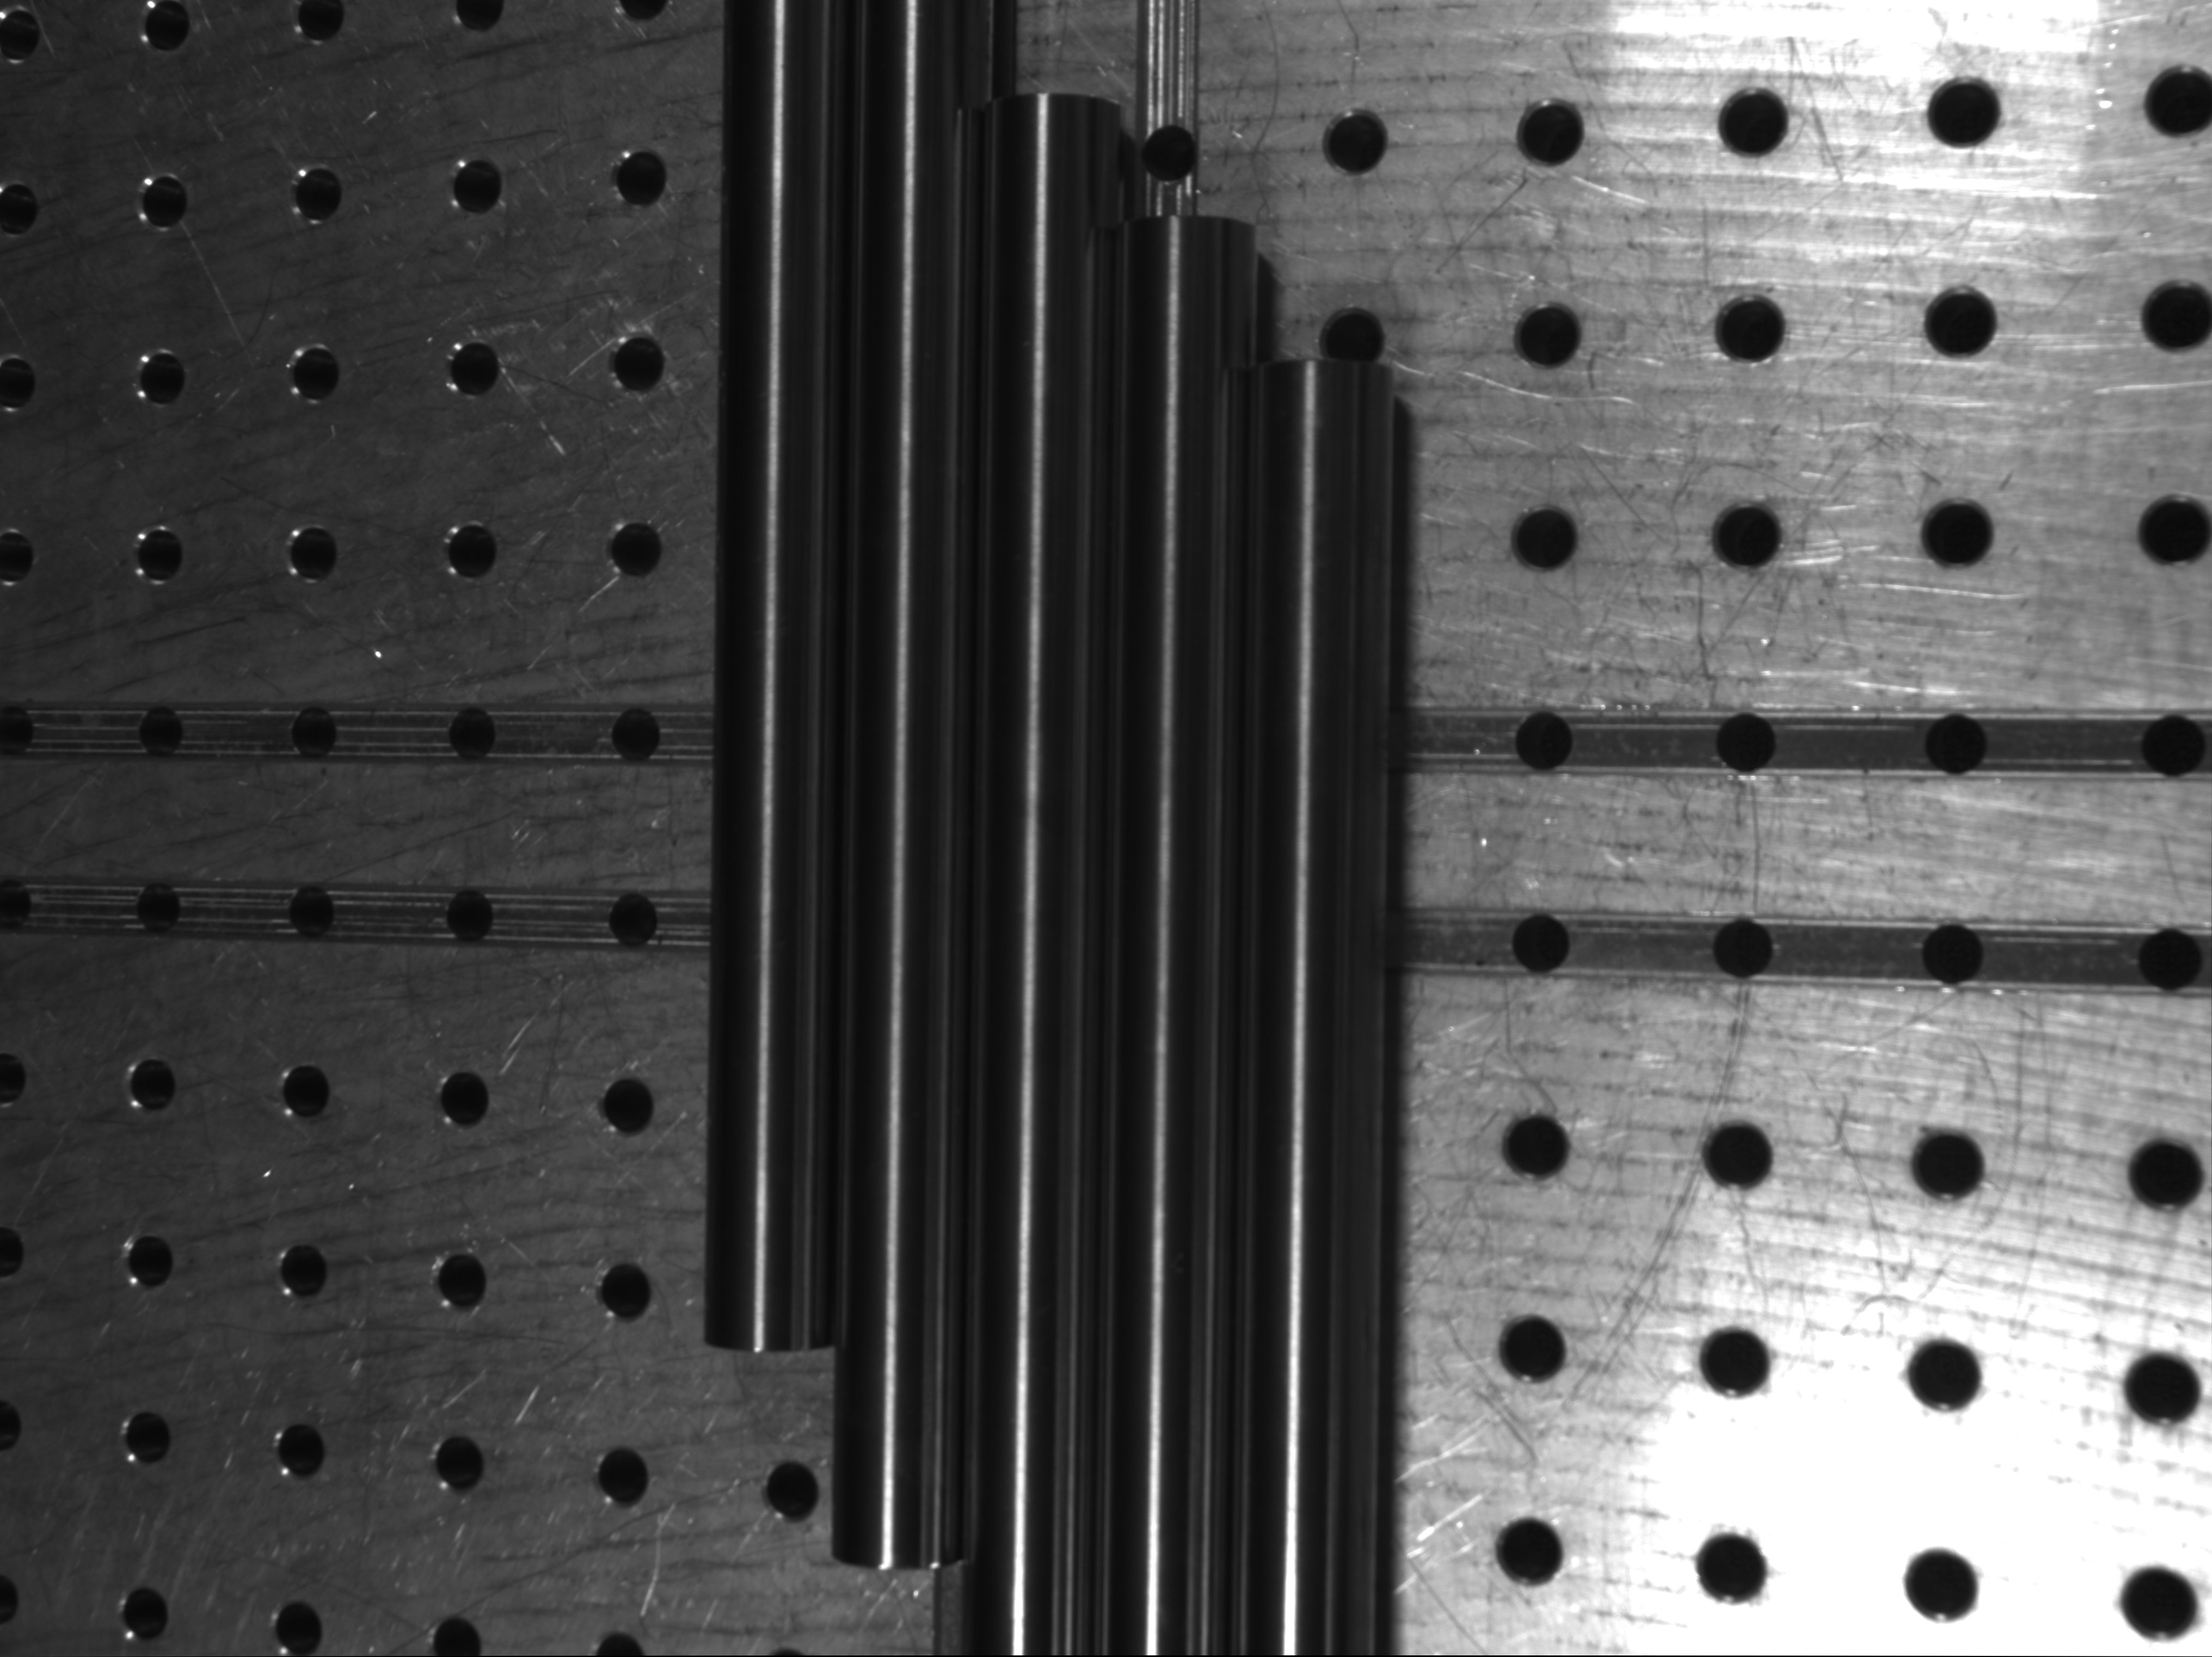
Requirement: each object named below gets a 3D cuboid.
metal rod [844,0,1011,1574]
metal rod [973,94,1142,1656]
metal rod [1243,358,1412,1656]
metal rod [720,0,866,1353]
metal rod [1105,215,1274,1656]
[{"bbox_3d":[-0.032,-0.019,0.657,0.025,0.025,0.300,1,90,20],"label":"metal rod"},{"bbox_3d":[-0.009,0.022,0.649,0.025,0.025,0.300,1,90,20],"label":"metal rod"},{"bbox_3d":[0.038,0.070,0.633,0.025,0.025,0.300,1,90,20],"label":"metal rod"},{"bbox_3d":[-0.055,-0.056,0.666,0.025,0.025,0.300,1,90,20],"label":"metal rod"},{"bbox_3d":[0.014,0.045,0.641,0.025,0.025,0.300,1,90,20],"label":"metal rod"}]
